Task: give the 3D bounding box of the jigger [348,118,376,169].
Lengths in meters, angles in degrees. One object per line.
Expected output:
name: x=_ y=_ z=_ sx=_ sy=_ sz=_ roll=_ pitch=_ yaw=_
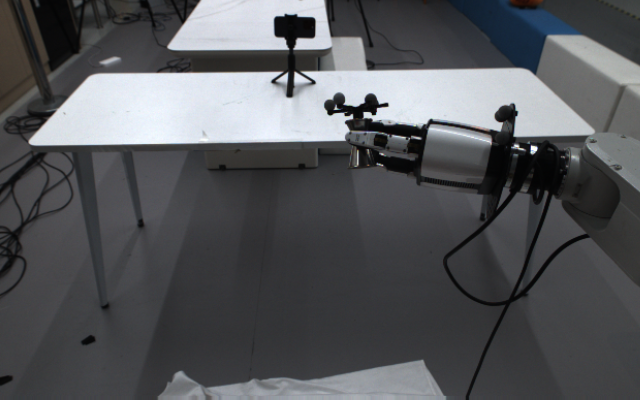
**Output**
jigger: x=0.057 y=-0.081 z=0.695 sx=0.043 sy=0.071 sz=0.043 roll=-4 pitch=1 yaw=0
